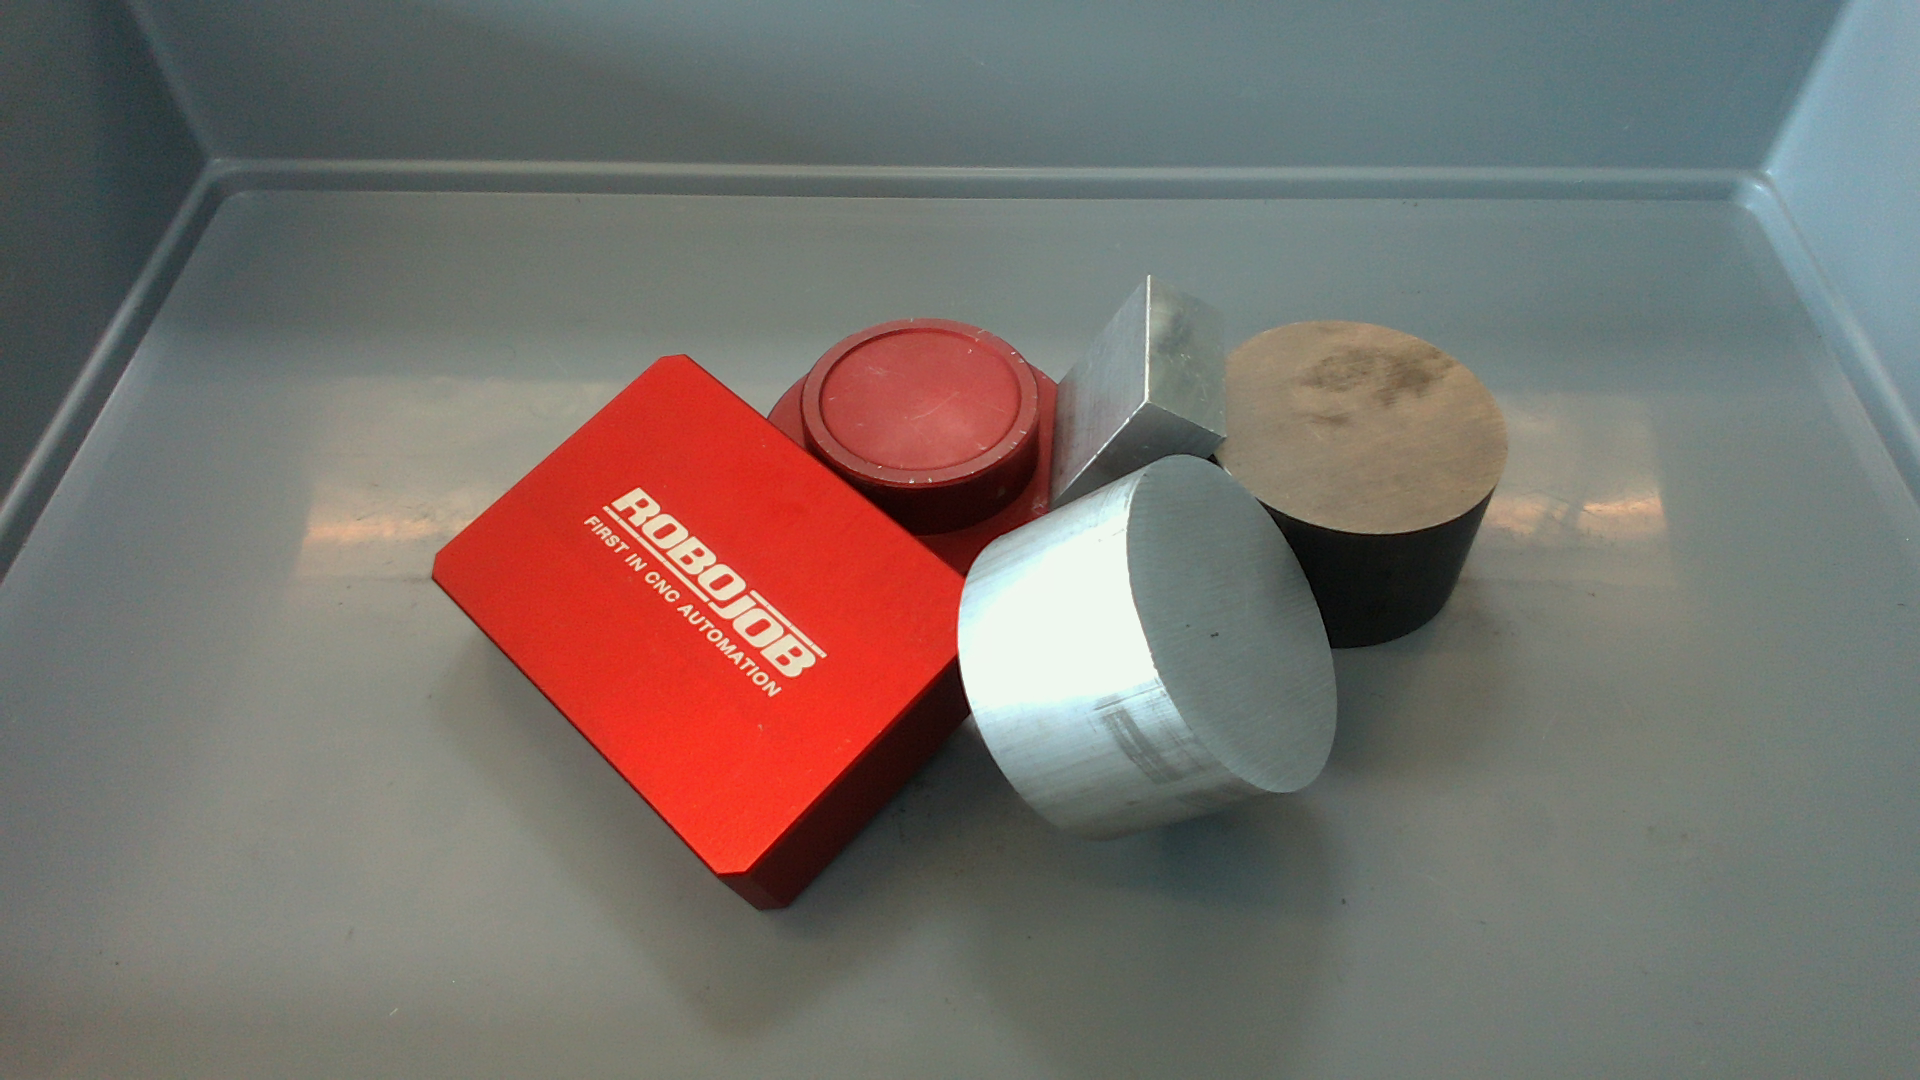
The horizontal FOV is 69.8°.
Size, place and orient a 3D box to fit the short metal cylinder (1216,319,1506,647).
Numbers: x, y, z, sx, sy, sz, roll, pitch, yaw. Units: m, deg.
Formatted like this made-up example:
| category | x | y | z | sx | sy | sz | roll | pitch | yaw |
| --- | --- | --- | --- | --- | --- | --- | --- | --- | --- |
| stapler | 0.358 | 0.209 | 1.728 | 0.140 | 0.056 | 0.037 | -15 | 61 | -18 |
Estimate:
| category | x | y | z | sx | sy | sz | roll | pitch | yaw |
| --- | --- | --- | --- | --- | --- | --- | --- | --- | --- |
| short metal cylinder | 0.105 | -0.017 | 0.388 | 0.080 | 0.050 | 0.080 | 0 | 50 | 0 |

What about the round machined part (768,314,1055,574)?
| category | x | y | z | sx | sy | sz | roll | pitch | yaw |
| --- | --- | --- | --- | --- | --- | --- | --- | --- | --- |
| round machined part | -0.011 | -0.028 | 0.402 | 0.098 | 0.042 | 0.098 | 0 | 50 | 0 |

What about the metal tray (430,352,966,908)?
| category | x | y | z | sx | sy | sz | roll | pitch | yaw |
| --- | --- | --- | --- | --- | --- | --- | --- | --- | --- |
| metal tray | -0.063 | 0.018 | 0.356 | 0.130 | 0.030 | 0.090 | 38 | 75 | 27 |

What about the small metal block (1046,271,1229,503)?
| category | x | y | z | sx | sy | sz | roll | pitch | yaw |
| --- | --- | --- | --- | --- | --- | --- | --- | --- | --- |
| small metal block | 0.048 | -0.036 | 0.380 | 0.025 | 0.050 | 0.050 | 23 | 47 | -17 |

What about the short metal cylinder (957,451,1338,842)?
| category | x | y | z | sx | sy | sz | roll | pitch | yaw |
| --- | --- | --- | --- | --- | --- | --- | --- | --- | --- |
| short metal cylinder | 0.045 | 0.026 | 0.324 | 0.050 | 0.080 | 0.080 | -26 | 37 | 37 |
